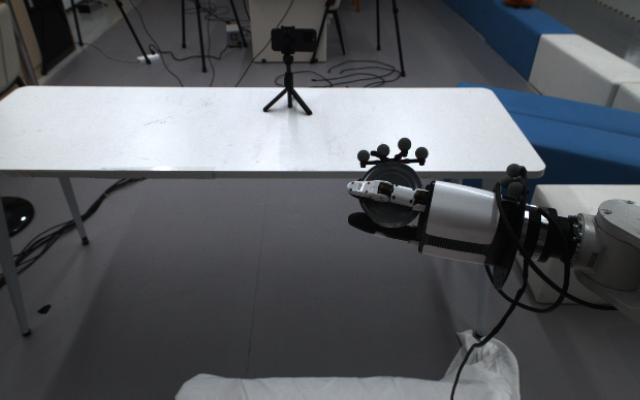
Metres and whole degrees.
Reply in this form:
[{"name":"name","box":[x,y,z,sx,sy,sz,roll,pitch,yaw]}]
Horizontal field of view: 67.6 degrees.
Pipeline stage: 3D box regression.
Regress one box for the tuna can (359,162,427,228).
[{"name":"tuna can","box":[0.097,-0.007,0.652,0.085,0.034,0.085,-5,73,15]}]
